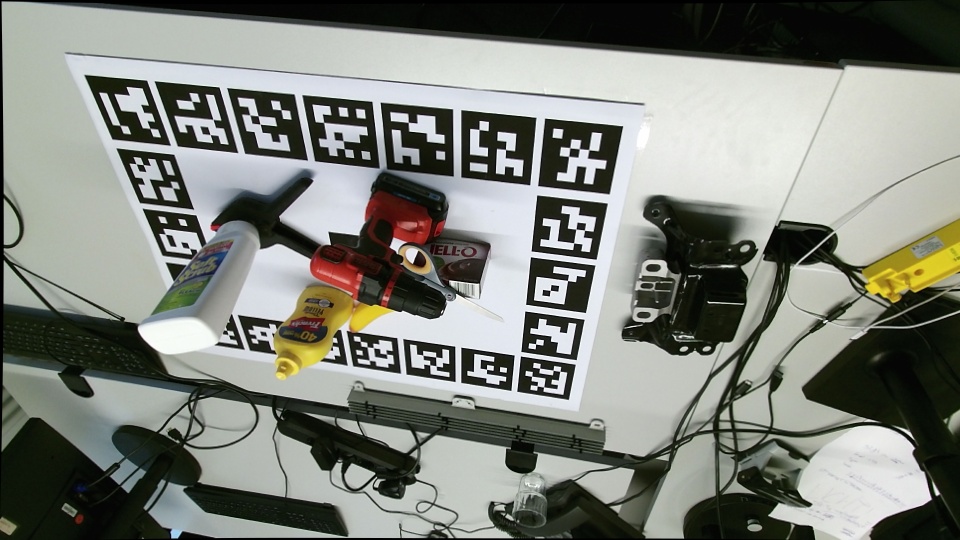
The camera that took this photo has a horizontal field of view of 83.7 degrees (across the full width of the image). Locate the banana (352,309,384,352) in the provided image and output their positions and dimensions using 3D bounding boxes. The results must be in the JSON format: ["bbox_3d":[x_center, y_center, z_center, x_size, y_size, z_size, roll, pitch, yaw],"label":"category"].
[{"bbox_3d":[-0.183,0.102,0.965,0.198,0.038,0.074,-28,133,28],"label":"banana"}]

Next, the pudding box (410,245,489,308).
[{"bbox_3d":[-0.049,0.010,0.842,0.114,0.089,0.039,11,134,5],"label":"pudding box"}]

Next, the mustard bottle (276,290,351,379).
[{"bbox_3d":[-0.300,0.115,0.917,0.096,0.191,0.058,19,128,-1],"label":"mustard bottle"}]

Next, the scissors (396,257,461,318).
[{"bbox_3d":[-0.051,0.054,0.794,0.203,0.016,0.088,30,123,-5],"label":"scissors"}]

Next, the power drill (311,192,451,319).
[{"bbox_3d":[-0.117,-0.020,0.737,0.185,0.186,0.057,16,134,-3],"label":"power drill"}]

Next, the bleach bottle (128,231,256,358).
[{"bbox_3d":[-0.411,0.017,0.809,0.103,0.249,0.068,-12,127,12],"label":"bleach bottle"}]

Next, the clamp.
[{"bbox_3d":[-0.357,-0.052,0.878,0.203,0.036,0.165,3,124,12],"label":"clamp"}]
